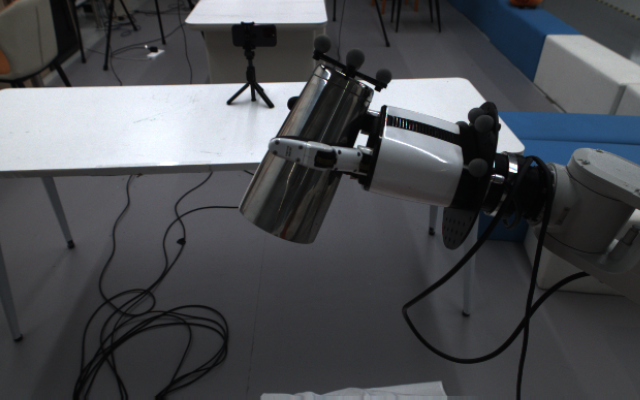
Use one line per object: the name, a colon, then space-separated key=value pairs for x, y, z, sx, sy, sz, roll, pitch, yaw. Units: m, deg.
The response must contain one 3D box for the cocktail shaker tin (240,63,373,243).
cocktail shaker tin: x=-0.007 y=-0.051 z=0.511 sx=0.093 sy=0.170 sz=0.093 roll=24 pitch=12 yaw=-6
